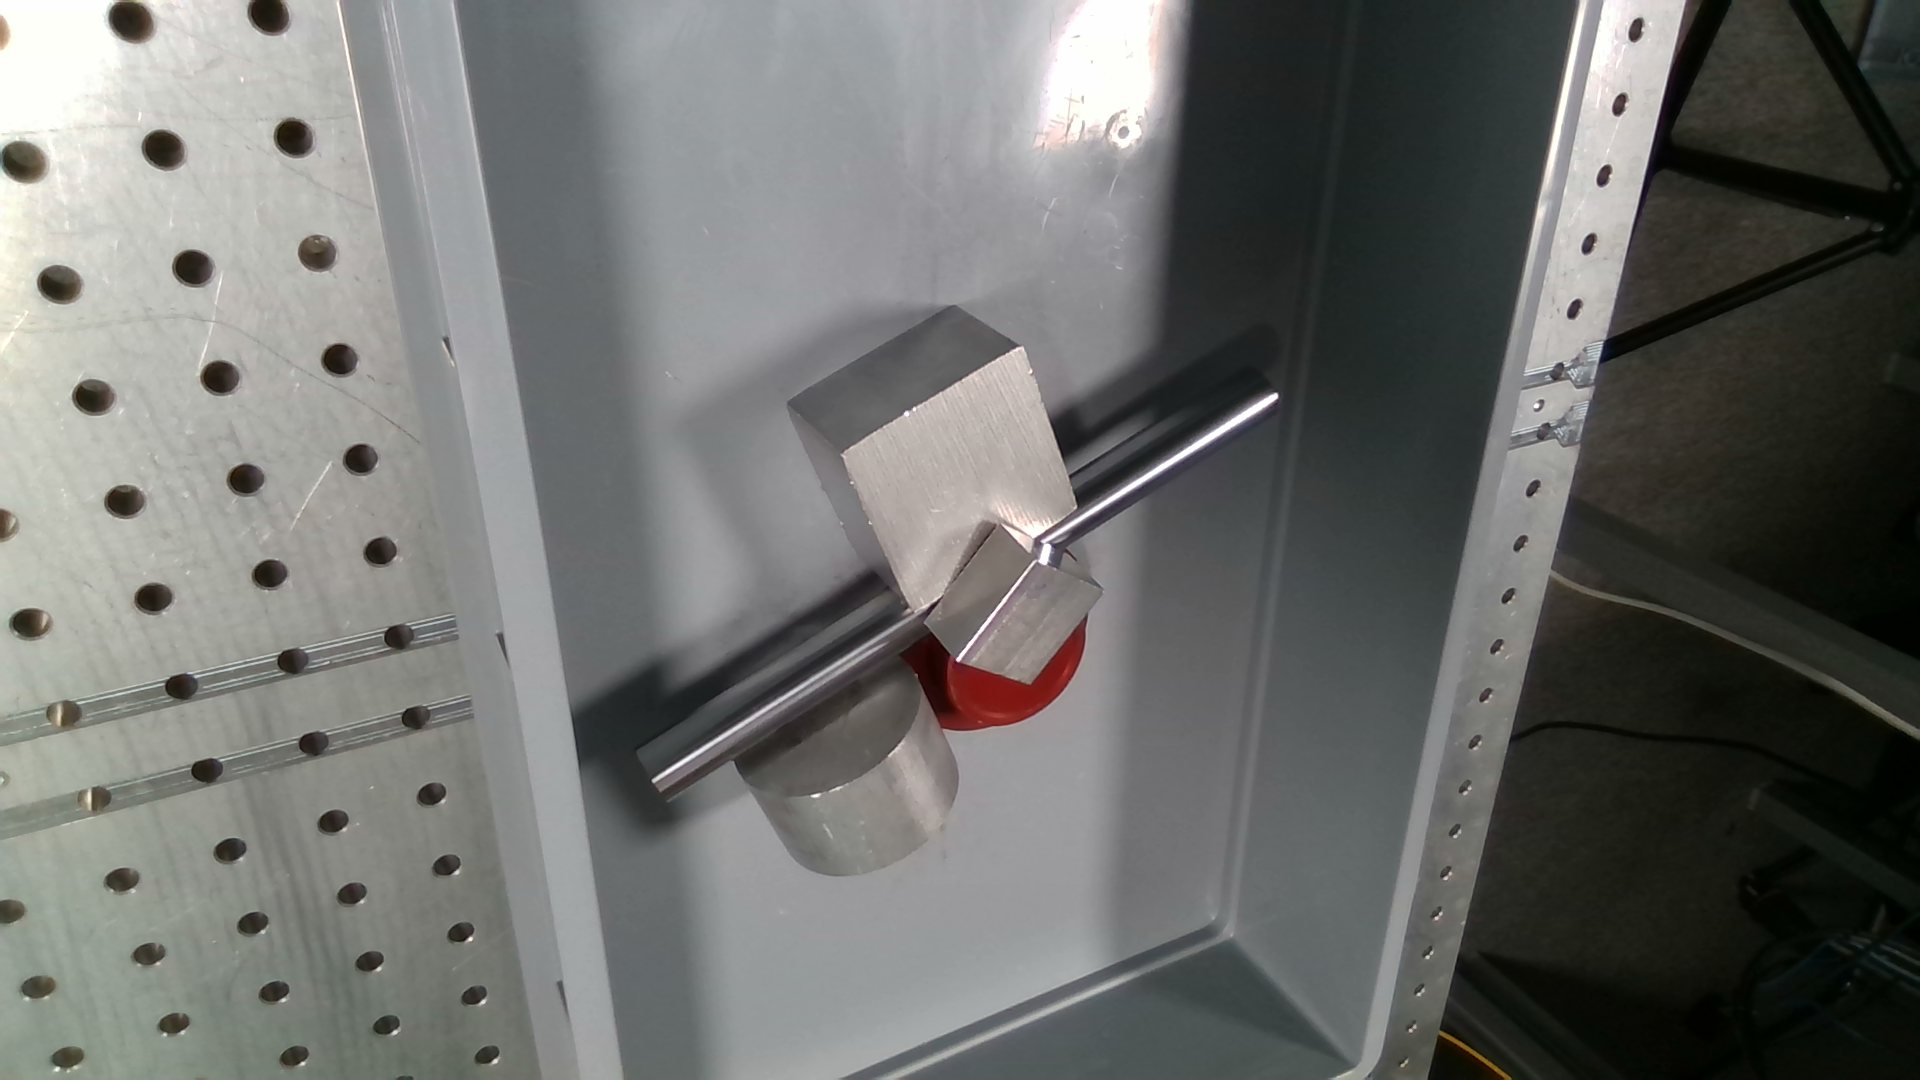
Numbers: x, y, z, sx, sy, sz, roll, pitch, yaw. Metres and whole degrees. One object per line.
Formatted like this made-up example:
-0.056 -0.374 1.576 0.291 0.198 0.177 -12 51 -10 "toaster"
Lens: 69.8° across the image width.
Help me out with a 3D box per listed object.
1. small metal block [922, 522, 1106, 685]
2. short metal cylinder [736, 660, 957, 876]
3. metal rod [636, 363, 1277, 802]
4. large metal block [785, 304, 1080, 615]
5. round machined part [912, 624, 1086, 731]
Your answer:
0.022 0.026 0.544 0.050 0.025 0.050 23 109 -49 "small metal block"
-0.046 0.089 0.564 0.080 0.080 0.050 -32 127 -13 "short metal cylinder"
0.005 0.012 0.562 0.300 0.025 0.025 -32 127 -13 "metal rod"
-0.009 -0.032 0.537 0.080 0.050 0.080 -32 127 -13 "large metal block"
0.015 0.042 0.600 0.098 0.042 0.098 -14 122 -25 "round machined part"
